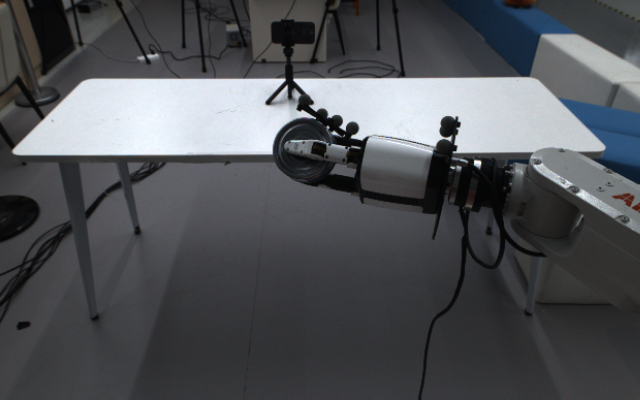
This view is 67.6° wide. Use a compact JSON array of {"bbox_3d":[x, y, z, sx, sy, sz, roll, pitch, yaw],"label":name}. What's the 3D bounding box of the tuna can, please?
[{"bbox_3d":[-0.019,-0.069,0.659,0.085,0.085,0.034,13,-4,15],"label":"tuna can"}]
